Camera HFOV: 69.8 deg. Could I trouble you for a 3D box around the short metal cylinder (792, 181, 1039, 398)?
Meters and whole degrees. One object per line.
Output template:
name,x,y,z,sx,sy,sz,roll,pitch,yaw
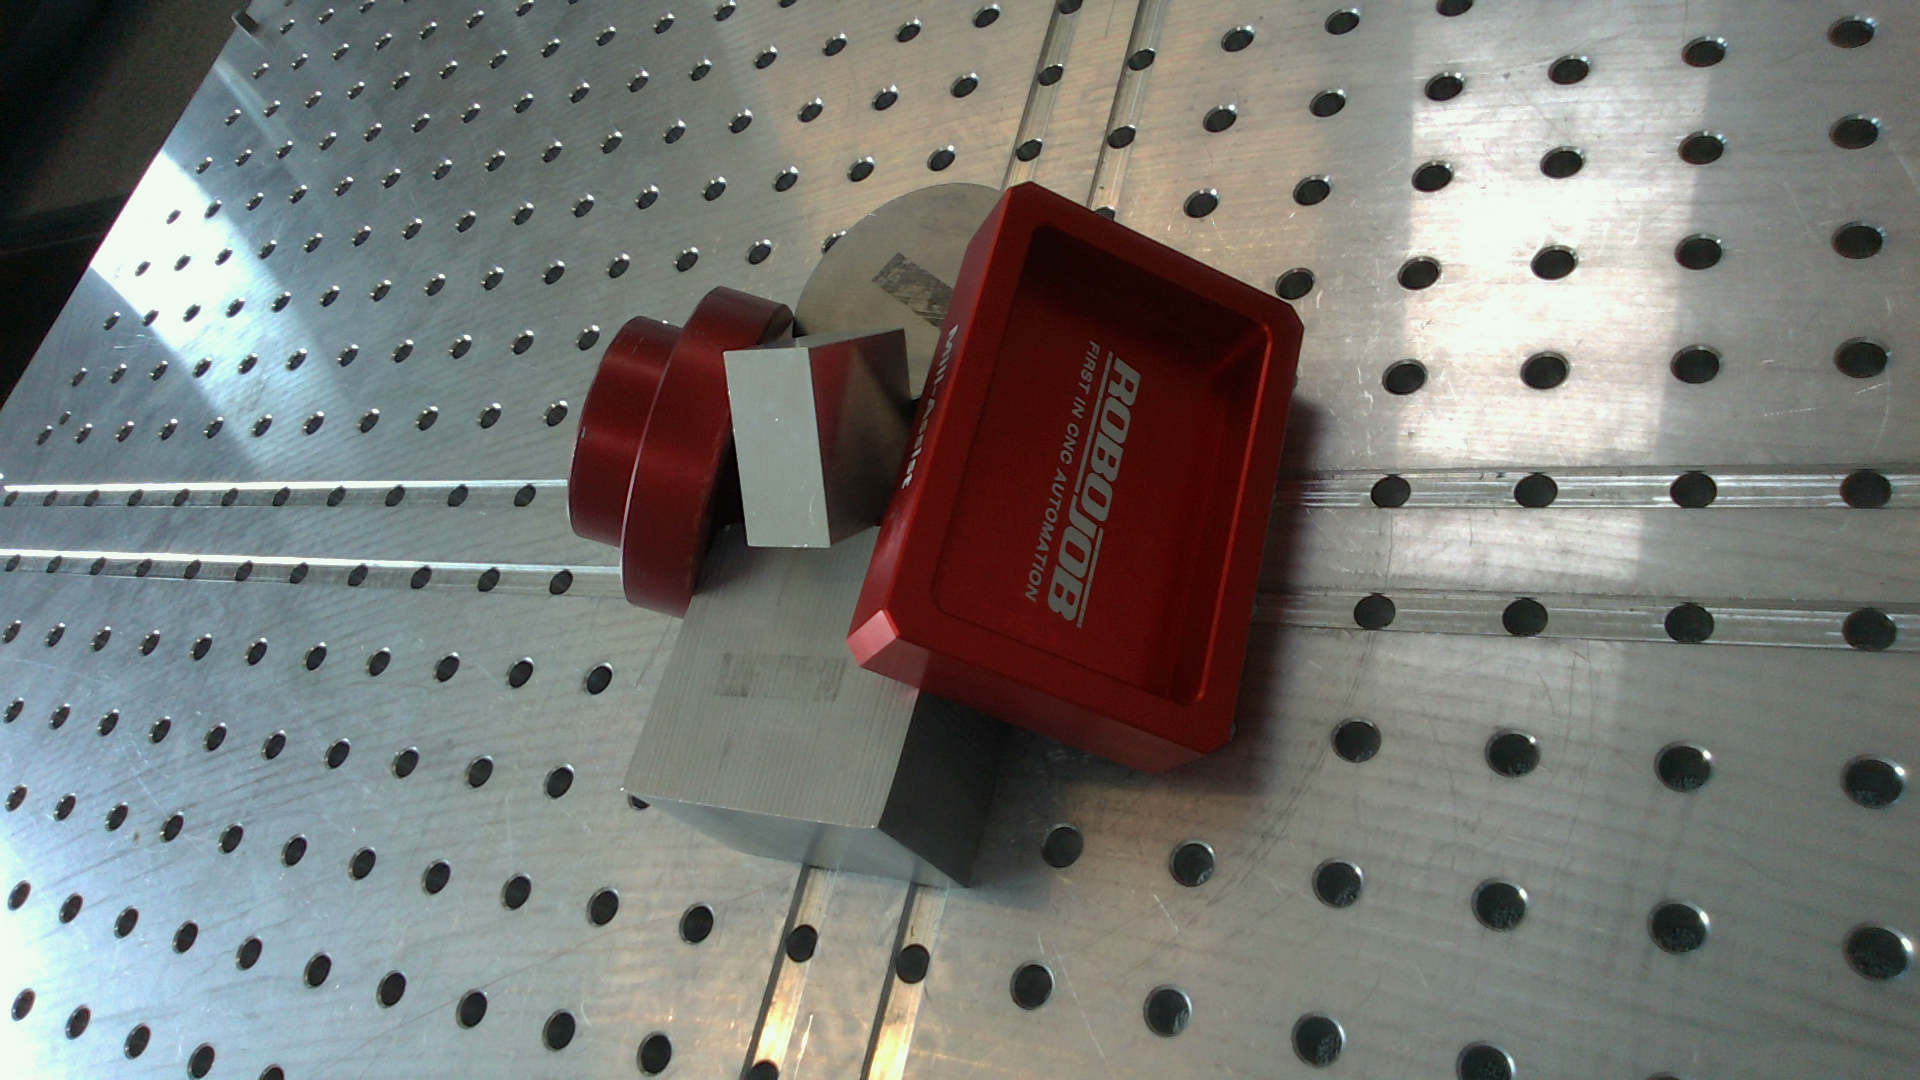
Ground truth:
short metal cylinder,-0.005,-0.061,0.420,0.080,0.050,0.080,-13,56,21

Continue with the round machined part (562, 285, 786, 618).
round machined part,-0.085,-0.028,0.408,0.042,0.098,0.098,16,66,-1

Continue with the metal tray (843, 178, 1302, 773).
metal tray,0.032,-0.017,0.350,0.030,0.090,0.130,139,150,-62

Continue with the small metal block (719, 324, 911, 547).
small metal block,-0.036,-0.029,0.363,0.025,0.050,0.050,1,104,26

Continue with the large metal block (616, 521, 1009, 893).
large metal block,-0.033,0.043,0.372,0.080,0.050,0.080,2,63,29
